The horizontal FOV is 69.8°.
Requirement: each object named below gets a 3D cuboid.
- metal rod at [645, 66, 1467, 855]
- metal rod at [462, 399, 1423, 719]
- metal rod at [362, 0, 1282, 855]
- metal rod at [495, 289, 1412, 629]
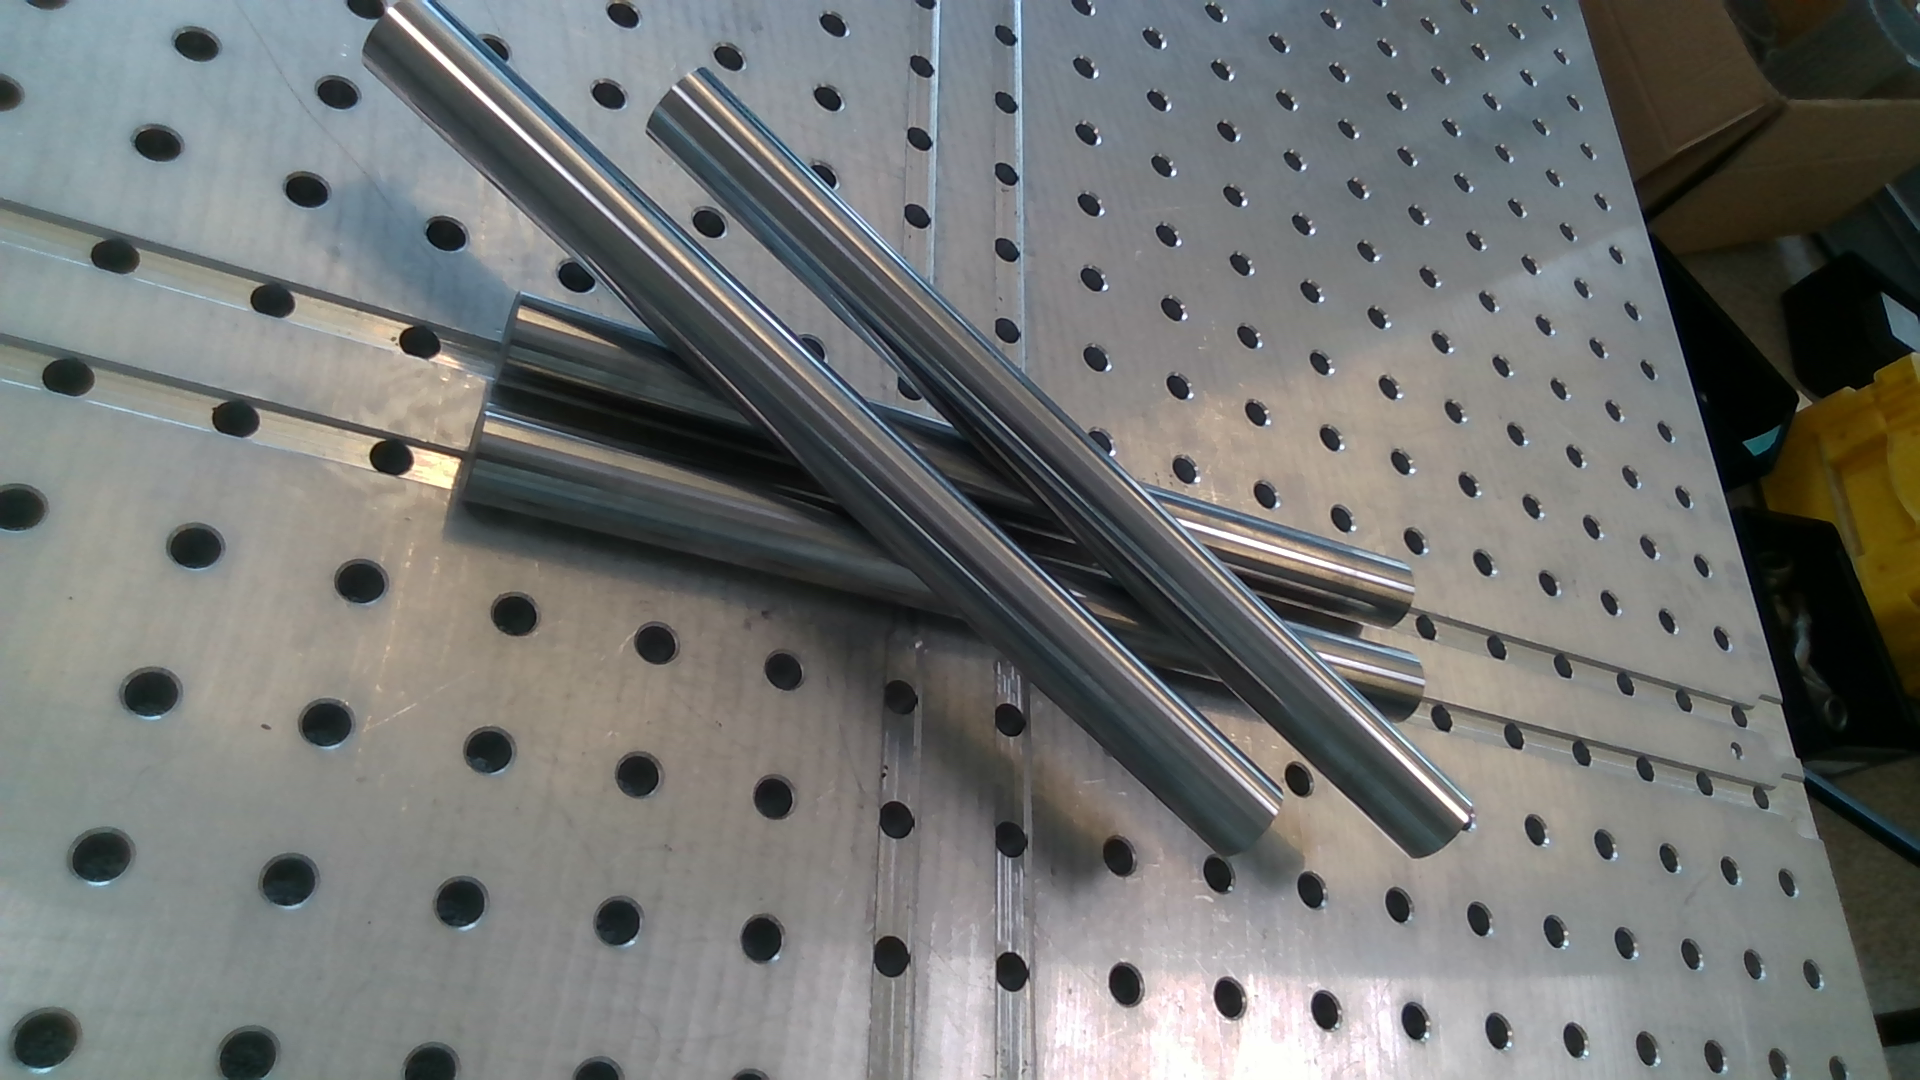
[{"bbox_3d":[0.031,-0.019,0.394,0.300,0.025,0.025,43,51,-5],"label":"metal rod"},{"bbox_3d":[0.013,0.013,0.398,0.300,0.025,0.025,15,58,-25],"label":"metal rod"},{"bbox_3d":[-0.031,-0.027,0.359,0.300,0.025,0.025,43,51,-5],"label":"metal rod"},{"bbox_3d":[0.016,-0.017,0.416,0.300,0.025,0.025,15,58,-24],"label":"metal rod"}]
